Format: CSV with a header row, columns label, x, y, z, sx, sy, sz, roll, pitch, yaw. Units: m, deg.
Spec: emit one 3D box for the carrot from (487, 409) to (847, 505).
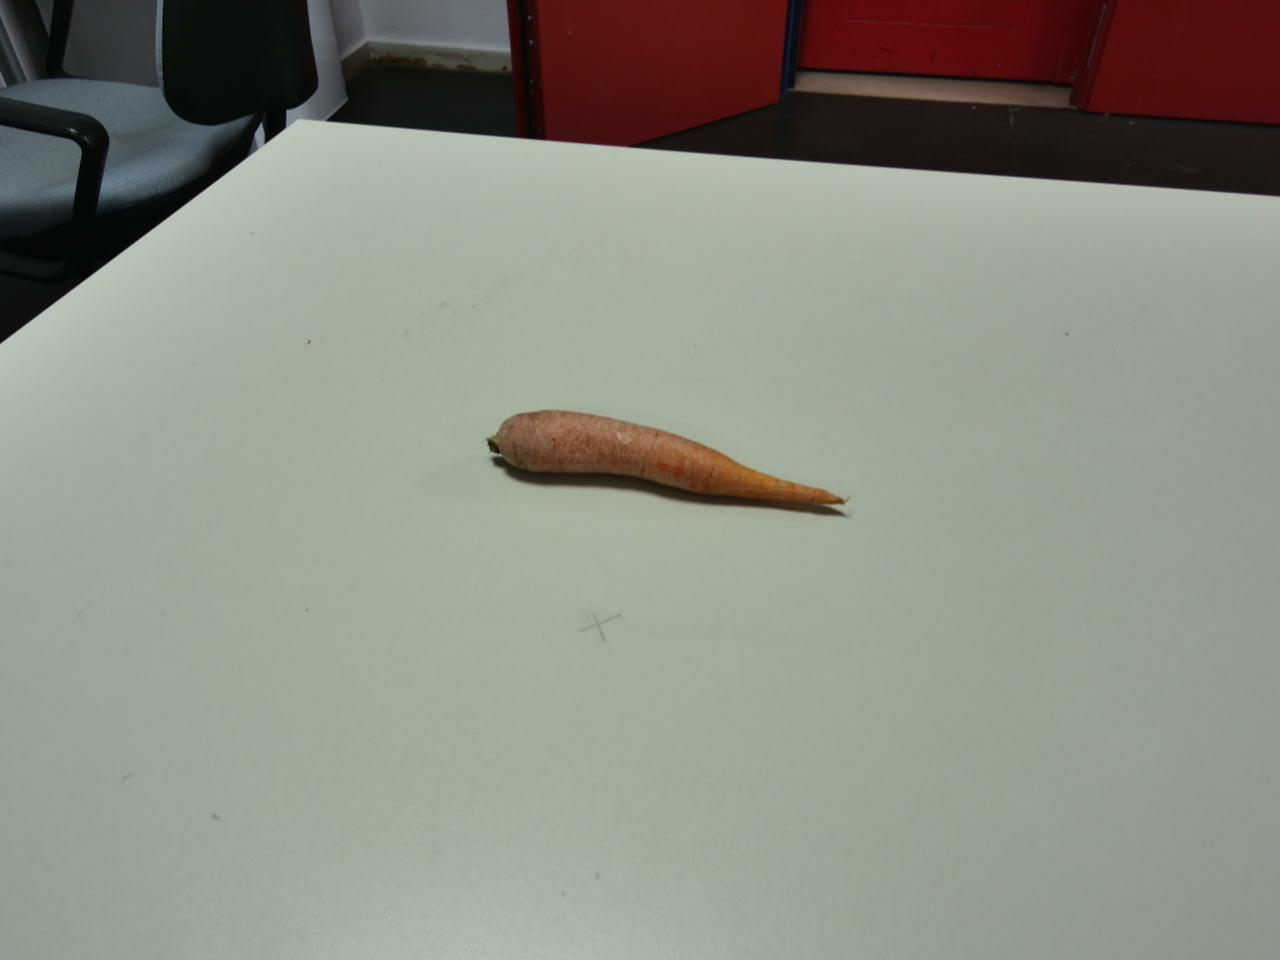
label,x,y,z,sx,sy,sz,roll,pitch,yaw
carrot,0.010,-0.010,0.443,0.163,0.029,0.031,9,39,11
